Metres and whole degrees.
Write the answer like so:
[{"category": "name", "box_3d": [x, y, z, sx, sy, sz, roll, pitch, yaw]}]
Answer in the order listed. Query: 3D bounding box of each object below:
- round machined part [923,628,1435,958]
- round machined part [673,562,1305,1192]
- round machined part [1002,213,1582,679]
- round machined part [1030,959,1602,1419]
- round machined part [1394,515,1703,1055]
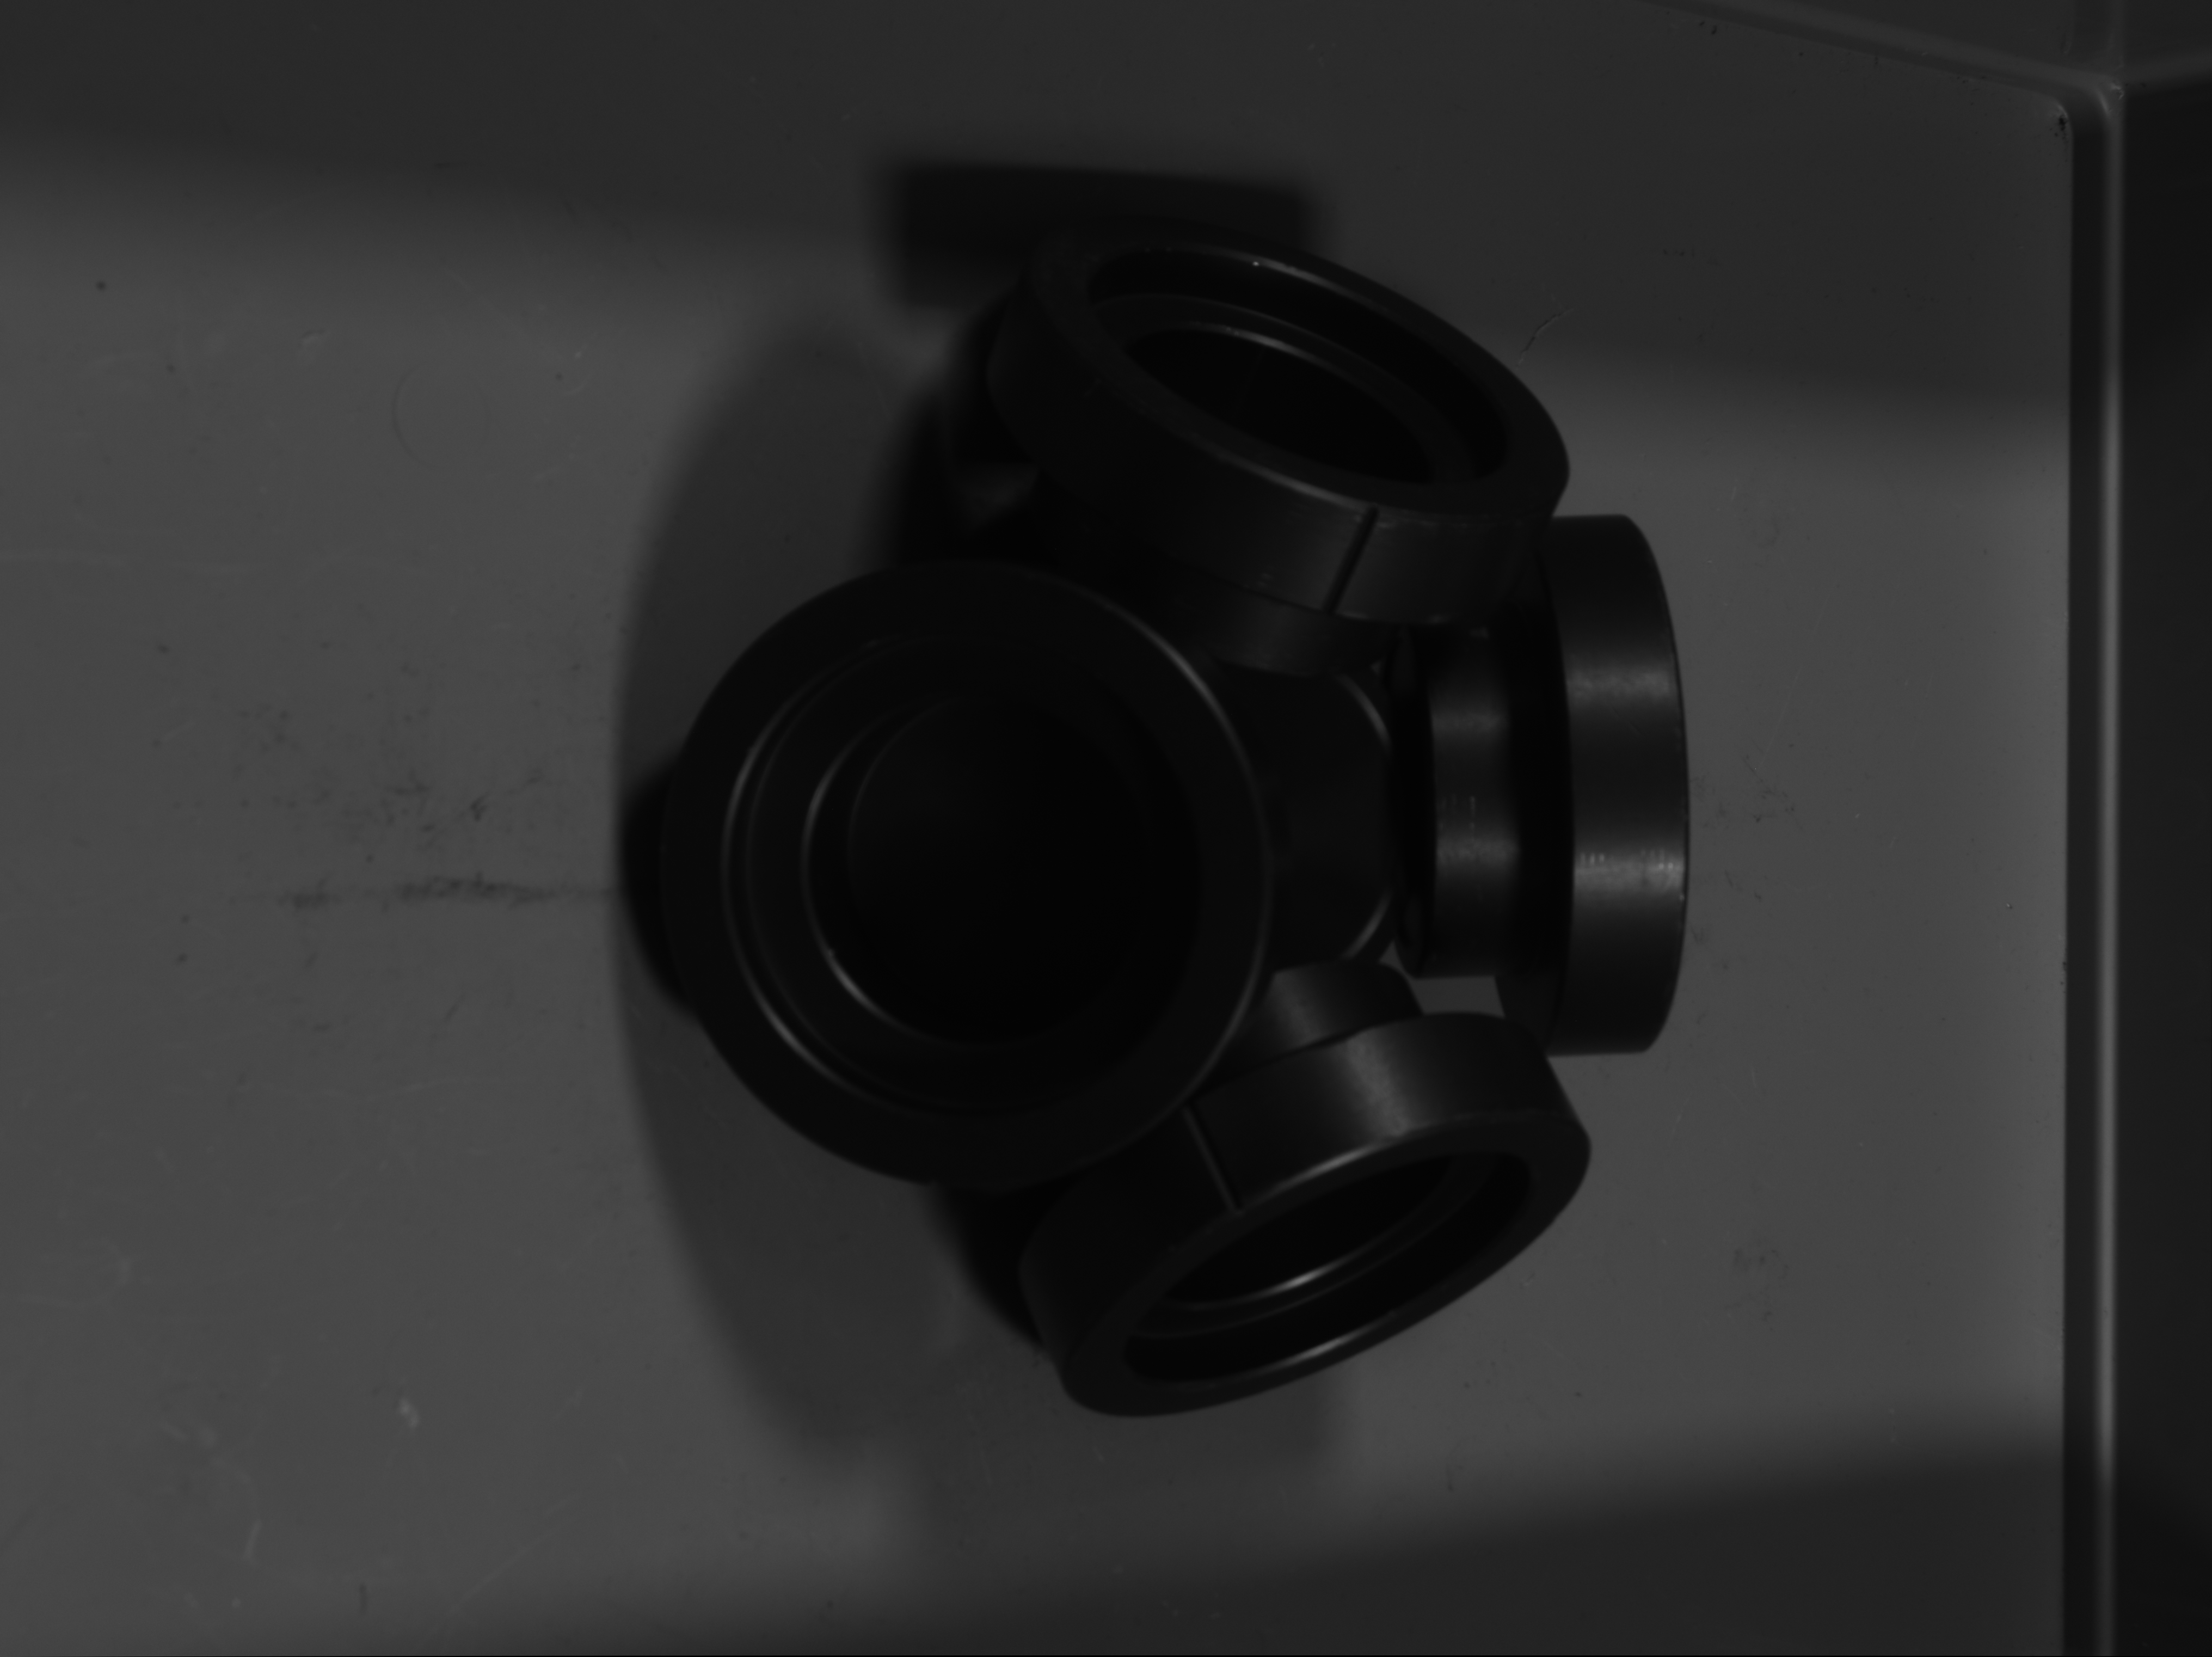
[{"category": "round machined part", "box_3d": [0.019, -0.002, 0.640, 0.098, 0.042, 0.098, 0, 90, -40]}, {"category": "round machined part", "box_3d": [-0.016, 0.006, 0.587, 0.042, 0.098, 0.098, -22, 107, -76]}, {"category": "round machined part", "box_3d": [0.028, -0.062, 0.624, 0.098, 0.098, 0.042, -5, 131, -40]}, {"category": "round machined part", "box_3d": [0.032, 0.058, 0.627, 0.098, 0.098, 0.042, -2, 55, -40]}, {"category": "round machined part", "box_3d": [0.077, -0.007, 0.666, 0.042, 0.098, 0.098, -2, 92, -4]}]
